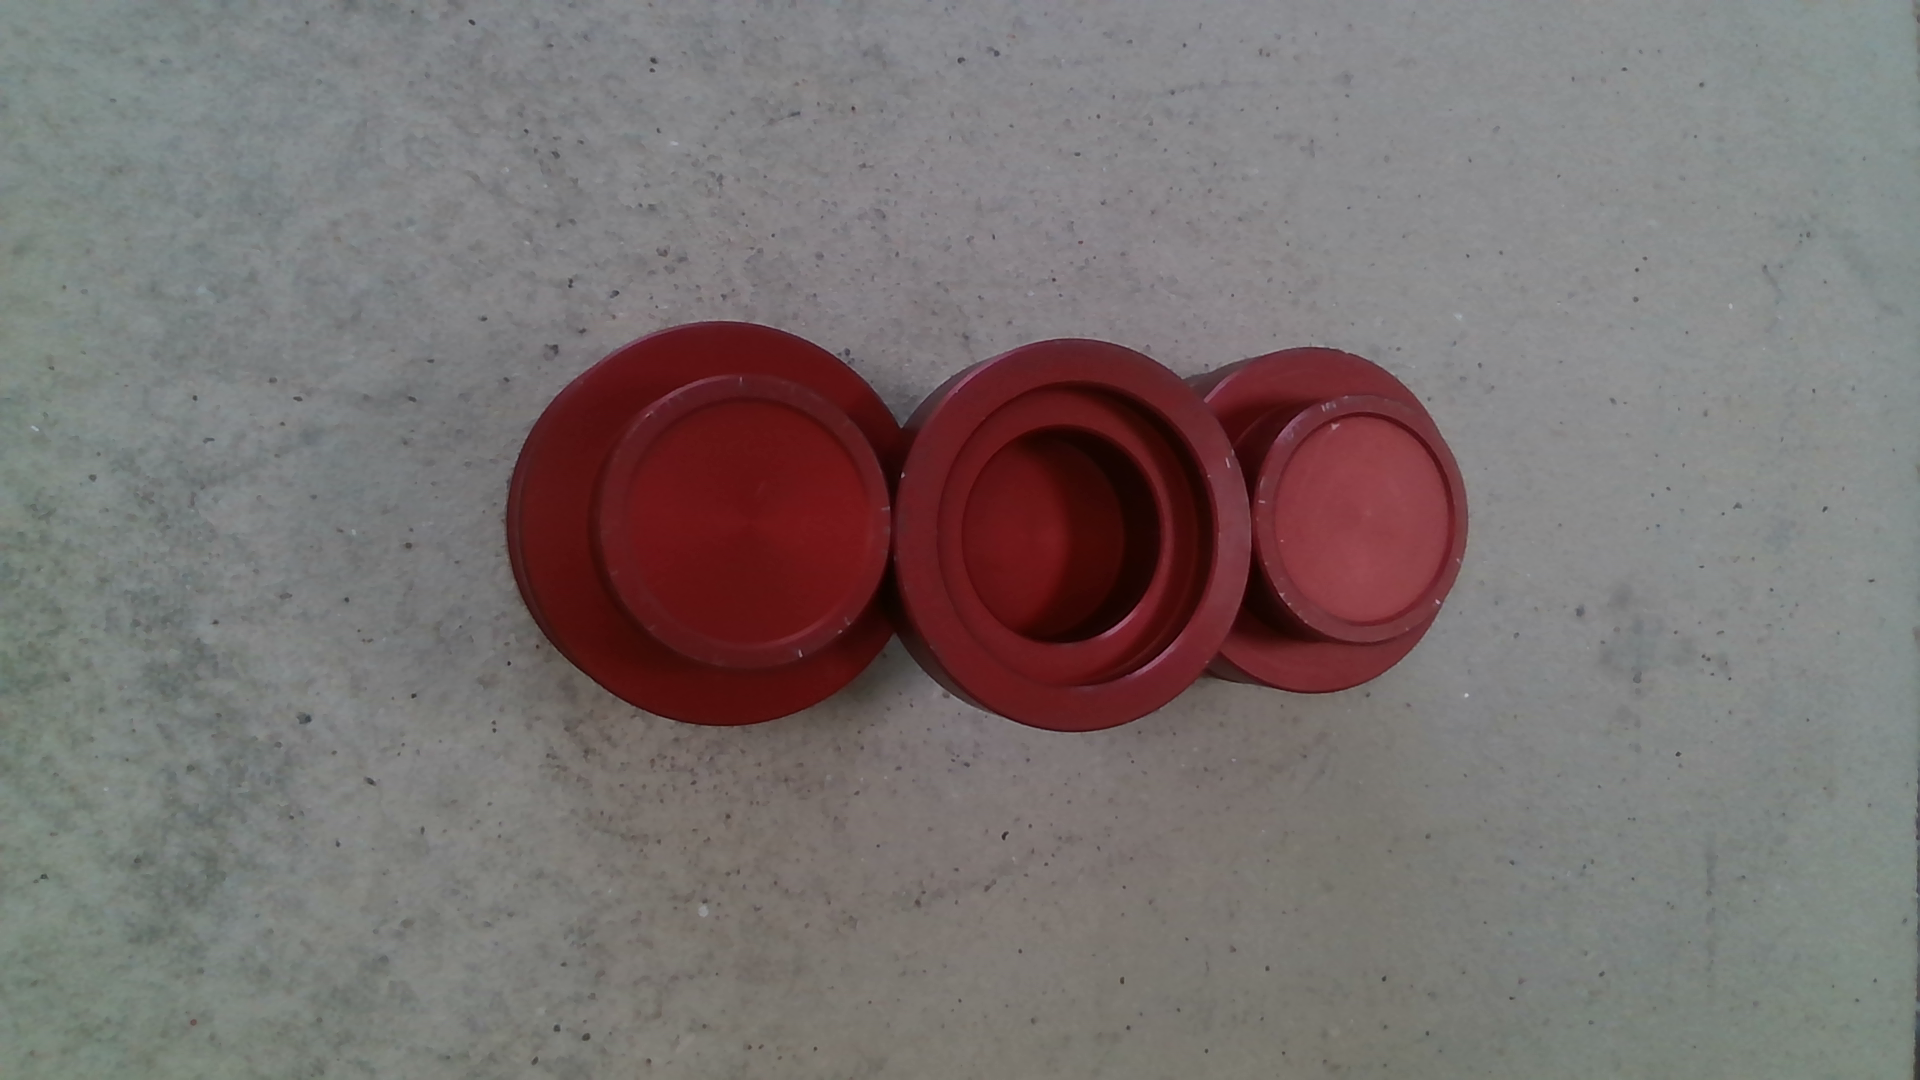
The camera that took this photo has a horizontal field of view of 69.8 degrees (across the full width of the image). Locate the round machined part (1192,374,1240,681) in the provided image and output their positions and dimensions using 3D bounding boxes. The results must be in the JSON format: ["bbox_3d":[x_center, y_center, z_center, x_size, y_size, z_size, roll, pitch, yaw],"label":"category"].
[{"bbox_3d":[0.093,-0.005,0.419,0.098,0.042,0.098,1,88,-20],"label":"round machined part"}]

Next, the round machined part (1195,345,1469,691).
[{"bbox_3d":[0.102,-0.006,0.388,0.098,0.042,0.098,0,89,-20],"label":"round machined part"}]

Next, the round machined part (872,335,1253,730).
[{"bbox_3d":[0.023,-0.002,0.360,0.098,0.042,0.098,0,90,-20],"label":"round machined part"}]

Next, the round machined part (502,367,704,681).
[{"bbox_3d":[-0.068,-0.004,0.362,0.098,0.042,0.098,0,89,-21],"label":"round machined part"}]

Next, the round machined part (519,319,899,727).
[{"bbox_3d":[-0.054,-0.004,0.330,0.098,0.042,0.098,0,89,-20],"label":"round machined part"}]
